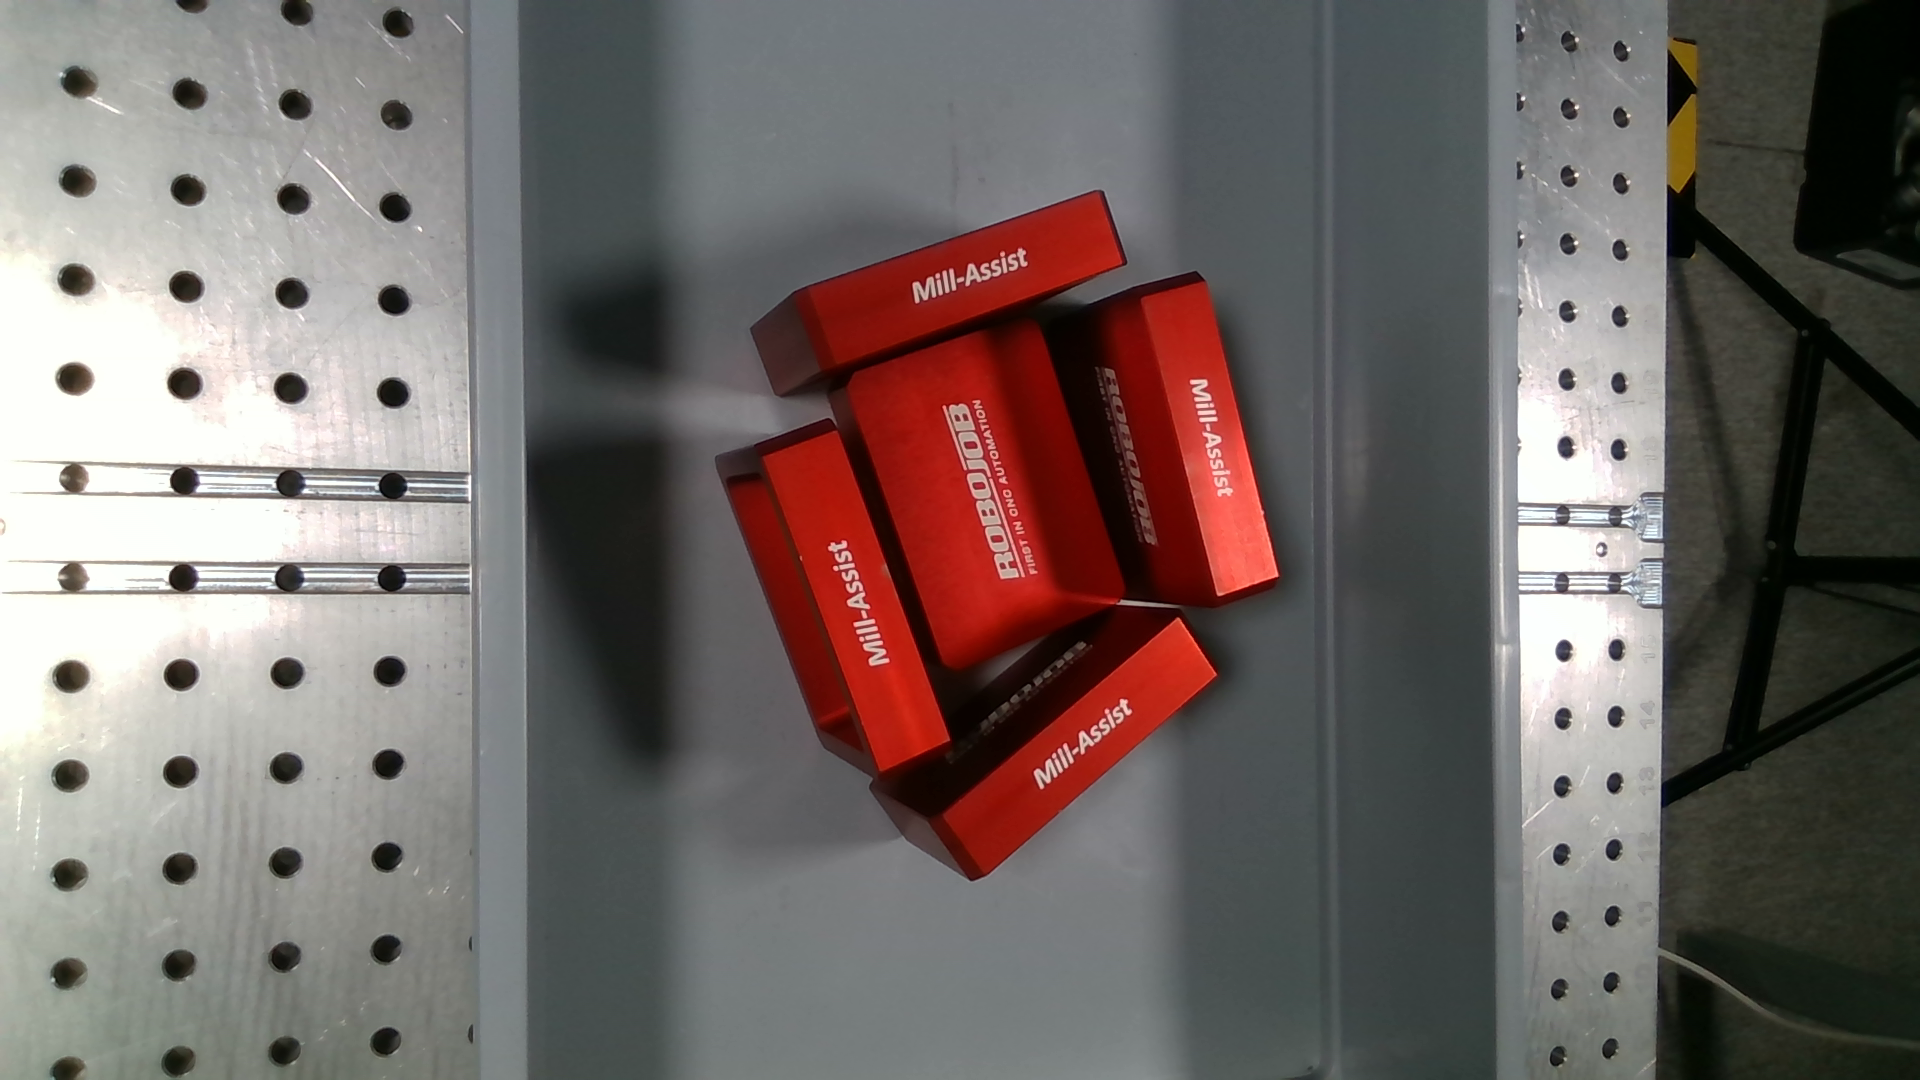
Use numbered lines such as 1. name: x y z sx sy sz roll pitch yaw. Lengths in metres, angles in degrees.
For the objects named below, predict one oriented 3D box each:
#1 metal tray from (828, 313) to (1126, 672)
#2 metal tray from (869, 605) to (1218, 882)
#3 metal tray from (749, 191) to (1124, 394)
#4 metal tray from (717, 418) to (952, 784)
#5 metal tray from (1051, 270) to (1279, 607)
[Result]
1. metal tray: 0.008 -0.020 0.584 0.090 0.030 0.130 -21 97 -19
2. metal tray: 0.032 0.077 0.562 0.130 0.090 0.030 -38 101 -16
3. metal tray: -0.011 -0.096 0.545 0.130 0.090 0.030 -22 97 -19
4. metal tray: -0.051 0.023 0.531 0.030 0.090 0.130 -22 98 -19
5. metal tray: 0.083 -0.040 0.580 0.030 0.090 0.130 -17 96 -19
